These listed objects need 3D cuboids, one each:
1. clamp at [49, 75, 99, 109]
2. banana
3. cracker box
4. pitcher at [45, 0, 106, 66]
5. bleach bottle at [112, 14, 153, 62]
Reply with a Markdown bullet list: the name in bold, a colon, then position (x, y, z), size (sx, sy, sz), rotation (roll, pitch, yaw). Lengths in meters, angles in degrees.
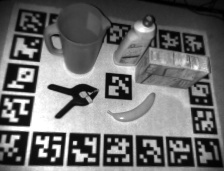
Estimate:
- **clamp**: position (-0.127, 0.010, 0.757), size (0.166, 0.036, 0.121), rotation (-10, 71, -17)
- **banana**: position (0.087, 0.058, 0.795), size (0.198, 0.039, 0.074), rotation (-28, 77, -20)
- **cracker box**: position (0.215, -0.074, 0.781), size (0.214, 0.164, 0.072), rotation (7, 65, -7)
- **pitcher**: position (-0.111, -0.158, 0.689), size (0.190, 0.242, 0.132), rotation (-12, 71, -18)
- **bleach bottle**: position (0.071, -0.169, 0.755), size (0.103, 0.250, 0.067), rotation (5, 67, -9)
